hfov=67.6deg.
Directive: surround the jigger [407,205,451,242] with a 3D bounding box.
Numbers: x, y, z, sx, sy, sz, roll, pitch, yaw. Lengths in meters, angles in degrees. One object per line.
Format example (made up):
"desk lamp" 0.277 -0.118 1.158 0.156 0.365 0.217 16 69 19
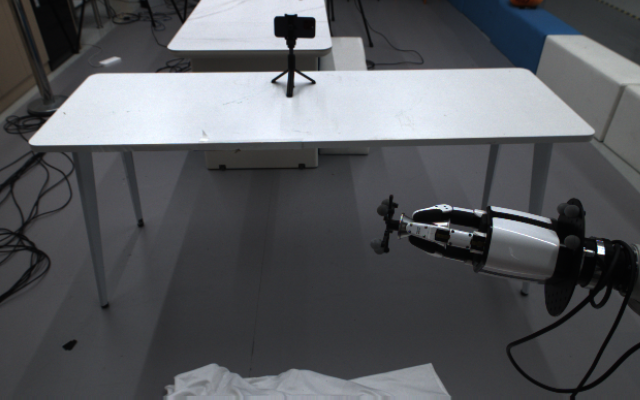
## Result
"jigger" 0.155 0.038 0.690 0.071 0.043 0.043 8 35 16
